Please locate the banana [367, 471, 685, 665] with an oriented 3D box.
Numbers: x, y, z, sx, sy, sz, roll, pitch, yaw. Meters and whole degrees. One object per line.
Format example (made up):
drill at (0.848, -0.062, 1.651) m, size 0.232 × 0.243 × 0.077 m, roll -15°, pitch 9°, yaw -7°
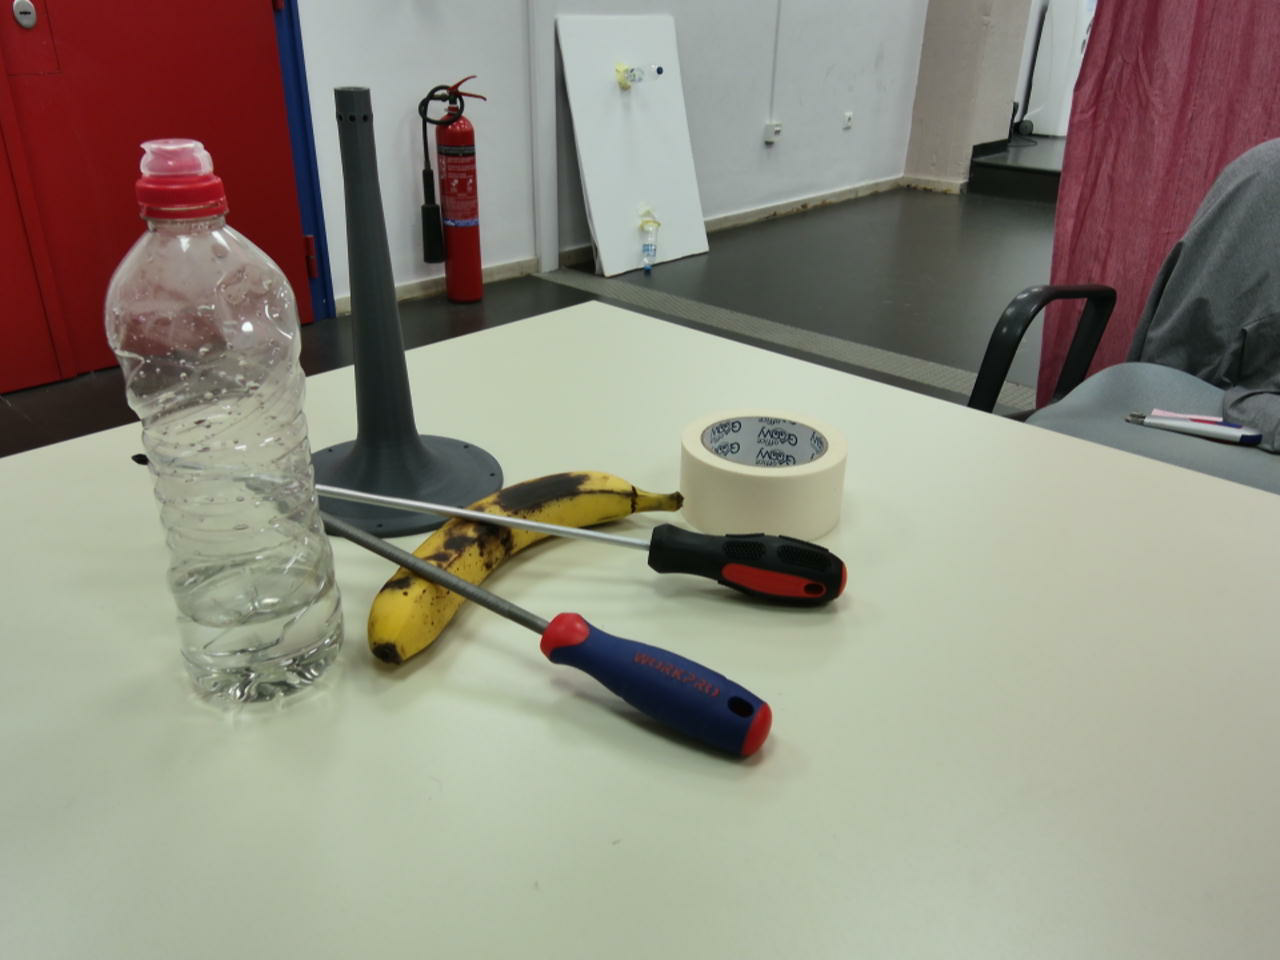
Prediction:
banana at (-0.075, 0.036, 0.569) m, size 0.084 × 0.037 × 0.222 m, roll 22°, pitch 32°, yaw 37°
